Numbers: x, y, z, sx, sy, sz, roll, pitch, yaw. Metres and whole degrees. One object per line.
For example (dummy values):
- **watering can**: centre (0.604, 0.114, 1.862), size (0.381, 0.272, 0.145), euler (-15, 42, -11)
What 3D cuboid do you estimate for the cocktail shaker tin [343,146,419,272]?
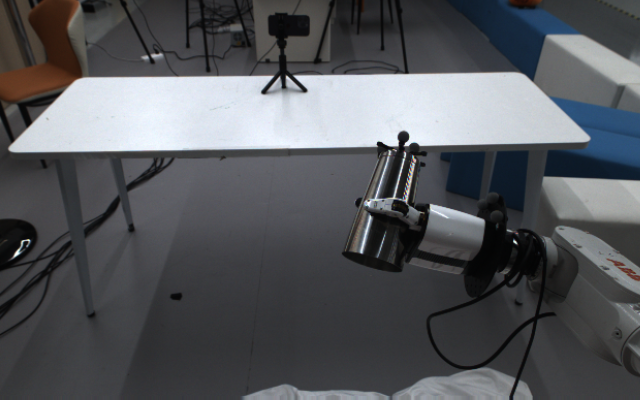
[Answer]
- **cocktail shaker tin**: centre (0.100, 0.013, 0.731), size (0.093, 0.093, 0.170), euler (14, 74, 16)
